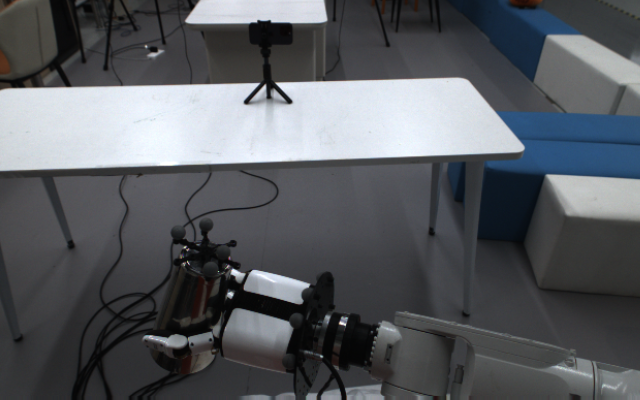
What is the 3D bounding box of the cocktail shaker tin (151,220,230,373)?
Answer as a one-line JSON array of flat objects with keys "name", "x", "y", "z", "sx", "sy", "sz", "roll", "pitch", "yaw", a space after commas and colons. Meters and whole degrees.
[{"name": "cocktail shaker tin", "x": -0.164, "y": 0.135, "z": 0.631, "sx": 0.093, "sy": 0.170, "sz": 0.093, "roll": 15, "pitch": 31, "yaw": -10}]
